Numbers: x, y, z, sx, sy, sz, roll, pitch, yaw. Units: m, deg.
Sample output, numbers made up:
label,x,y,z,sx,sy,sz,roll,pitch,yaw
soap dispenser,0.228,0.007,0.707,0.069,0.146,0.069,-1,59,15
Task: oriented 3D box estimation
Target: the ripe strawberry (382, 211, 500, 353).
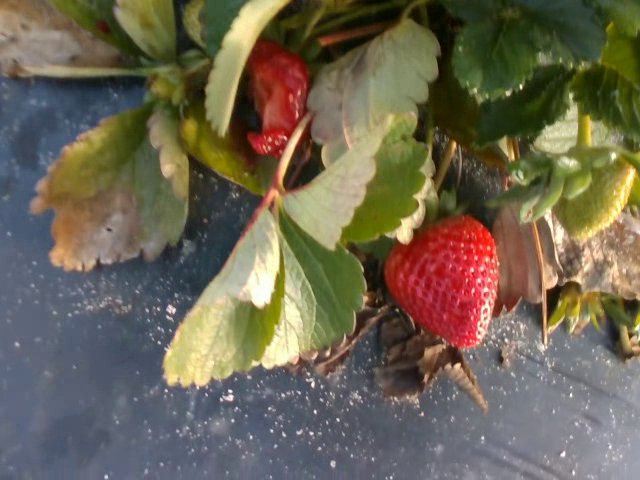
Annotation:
label,x,y,z,sx,sy,sz,roll,pitch,yaw
ripe strawberry,0.028,0.011,0.140,0.032,0.030,0.025,-15,-15,1
